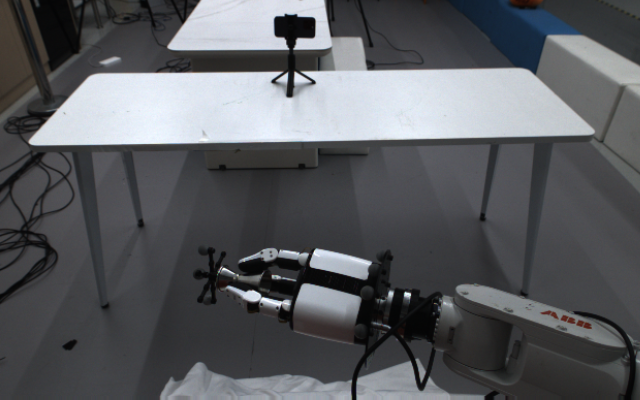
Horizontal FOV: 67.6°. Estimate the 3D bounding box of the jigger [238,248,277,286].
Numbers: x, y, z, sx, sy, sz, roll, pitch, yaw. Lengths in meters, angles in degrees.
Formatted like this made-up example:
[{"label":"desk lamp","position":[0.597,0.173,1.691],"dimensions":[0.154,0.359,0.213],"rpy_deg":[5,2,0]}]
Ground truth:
[{"label":"jigger","position":[-0.102,0.113,0.691],"dimensions":[0.071,0.043,0.043],"rpy_deg":[6,34,17]}]
